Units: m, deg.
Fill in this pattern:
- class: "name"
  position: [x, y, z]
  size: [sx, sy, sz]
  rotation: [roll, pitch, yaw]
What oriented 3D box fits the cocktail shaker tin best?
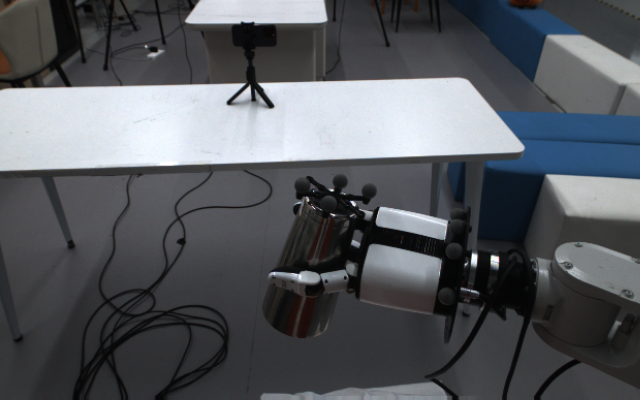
- class: "cocktail shaker tin"
  position: [-0.005, 0.073, 0.588]
  size: [0.093, 0.170, 0.093]
  rotation: [12, 29, -7]
